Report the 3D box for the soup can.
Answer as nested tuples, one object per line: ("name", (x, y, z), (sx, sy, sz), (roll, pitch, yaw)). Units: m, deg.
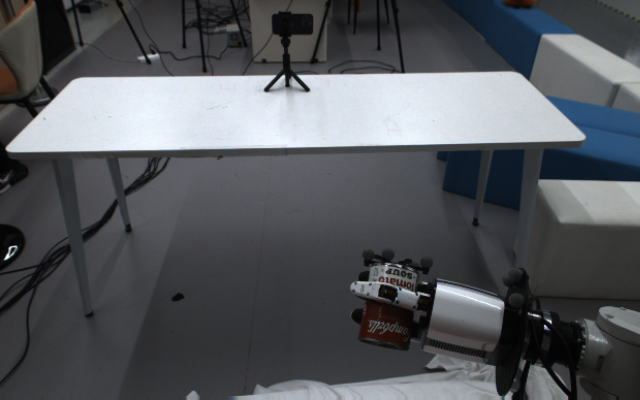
("soup can", (0.093, 0.140, 0.637), (0.067, 0.067, 0.101), (9, 70, 9))
